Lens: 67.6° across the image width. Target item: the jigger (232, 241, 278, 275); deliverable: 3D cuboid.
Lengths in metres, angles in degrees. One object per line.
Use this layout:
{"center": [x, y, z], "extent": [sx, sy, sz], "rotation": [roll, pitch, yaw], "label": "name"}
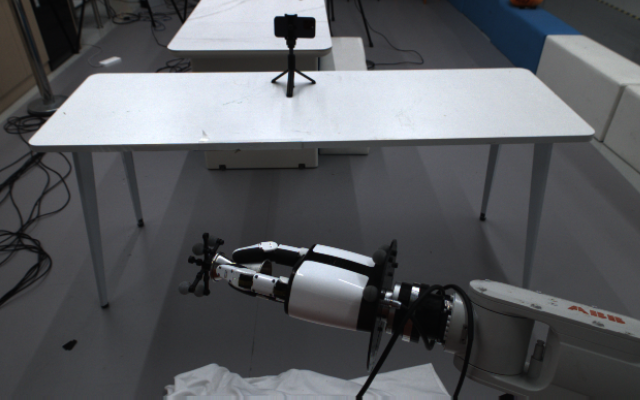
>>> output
{"center": [-0.095, 0.089, 0.623], "extent": [0.071, 0.043, 0.043], "rotation": [8, 35, 16], "label": "jigger"}
